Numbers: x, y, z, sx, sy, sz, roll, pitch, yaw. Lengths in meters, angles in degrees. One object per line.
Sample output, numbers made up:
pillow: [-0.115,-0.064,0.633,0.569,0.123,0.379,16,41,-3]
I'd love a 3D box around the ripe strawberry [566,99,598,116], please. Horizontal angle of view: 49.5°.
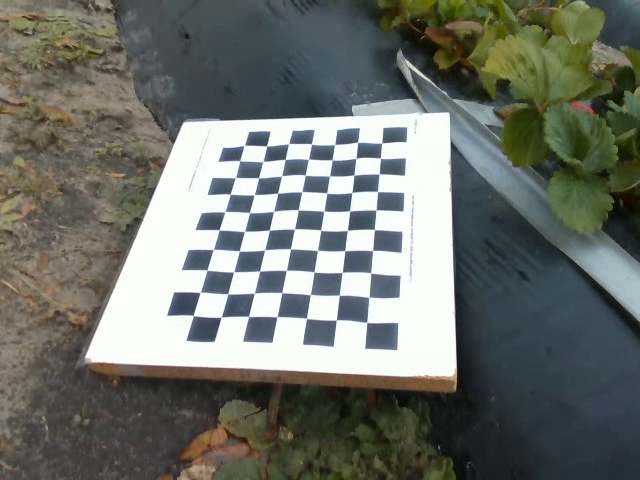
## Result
ripe strawberry: [0.273,-0.136,0.687,0.041,0.051,0.038,-6,-42,11]
